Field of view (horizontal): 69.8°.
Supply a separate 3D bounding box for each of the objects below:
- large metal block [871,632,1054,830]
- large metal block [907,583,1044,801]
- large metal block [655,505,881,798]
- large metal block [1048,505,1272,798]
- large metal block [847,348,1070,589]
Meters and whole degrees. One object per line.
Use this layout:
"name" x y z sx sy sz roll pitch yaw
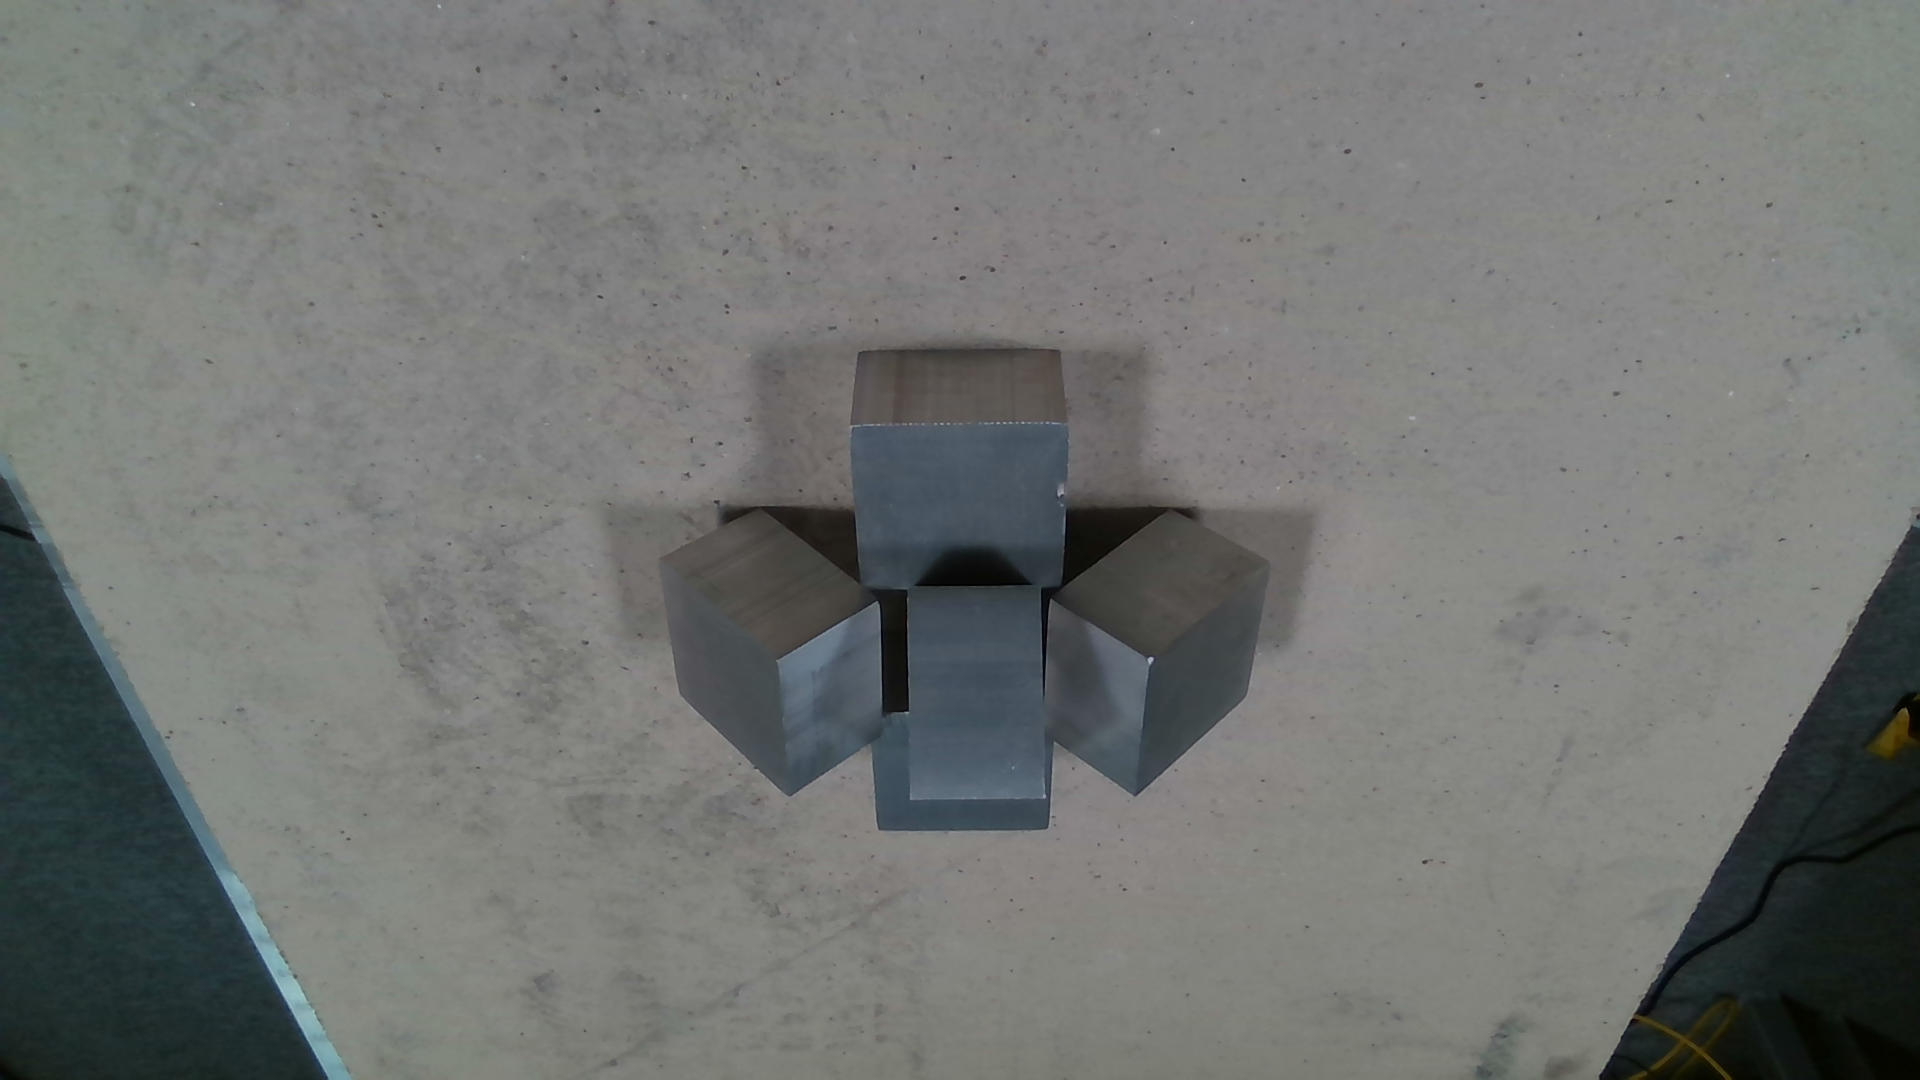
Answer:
"large metal block" 0.001 0.088 0.634 0.080 0.050 0.080 0 130 0
"large metal block" 0.006 0.059 0.551 0.050 0.080 0.080 0 86 0
"large metal block" -0.079 0.046 0.574 0.050 0.080 0.080 -30 138 -33
"large metal block" 0.081 0.045 0.574 0.050 0.080 0.080 31 139 32
"large metal block" 0.000 -0.027 0.540 0.080 0.050 0.080 0 130 0
